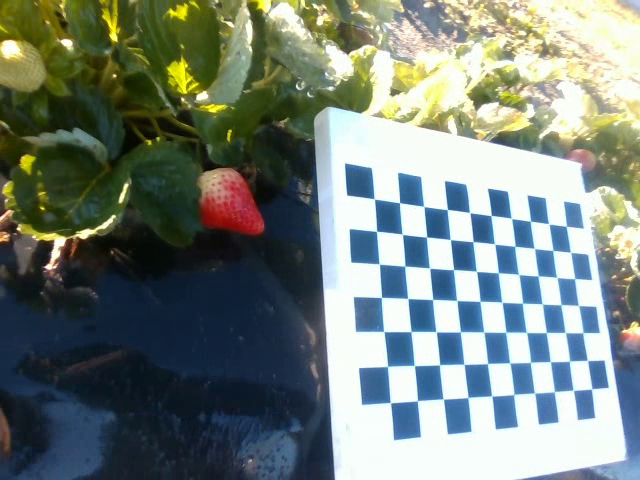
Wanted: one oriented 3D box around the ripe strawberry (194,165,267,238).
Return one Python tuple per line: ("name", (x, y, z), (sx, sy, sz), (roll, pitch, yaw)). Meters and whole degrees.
("ripe strawberry", (-0.063, -0.023, 0.437), (0.040, 0.065, 0.040), (-26, 23, 53))
